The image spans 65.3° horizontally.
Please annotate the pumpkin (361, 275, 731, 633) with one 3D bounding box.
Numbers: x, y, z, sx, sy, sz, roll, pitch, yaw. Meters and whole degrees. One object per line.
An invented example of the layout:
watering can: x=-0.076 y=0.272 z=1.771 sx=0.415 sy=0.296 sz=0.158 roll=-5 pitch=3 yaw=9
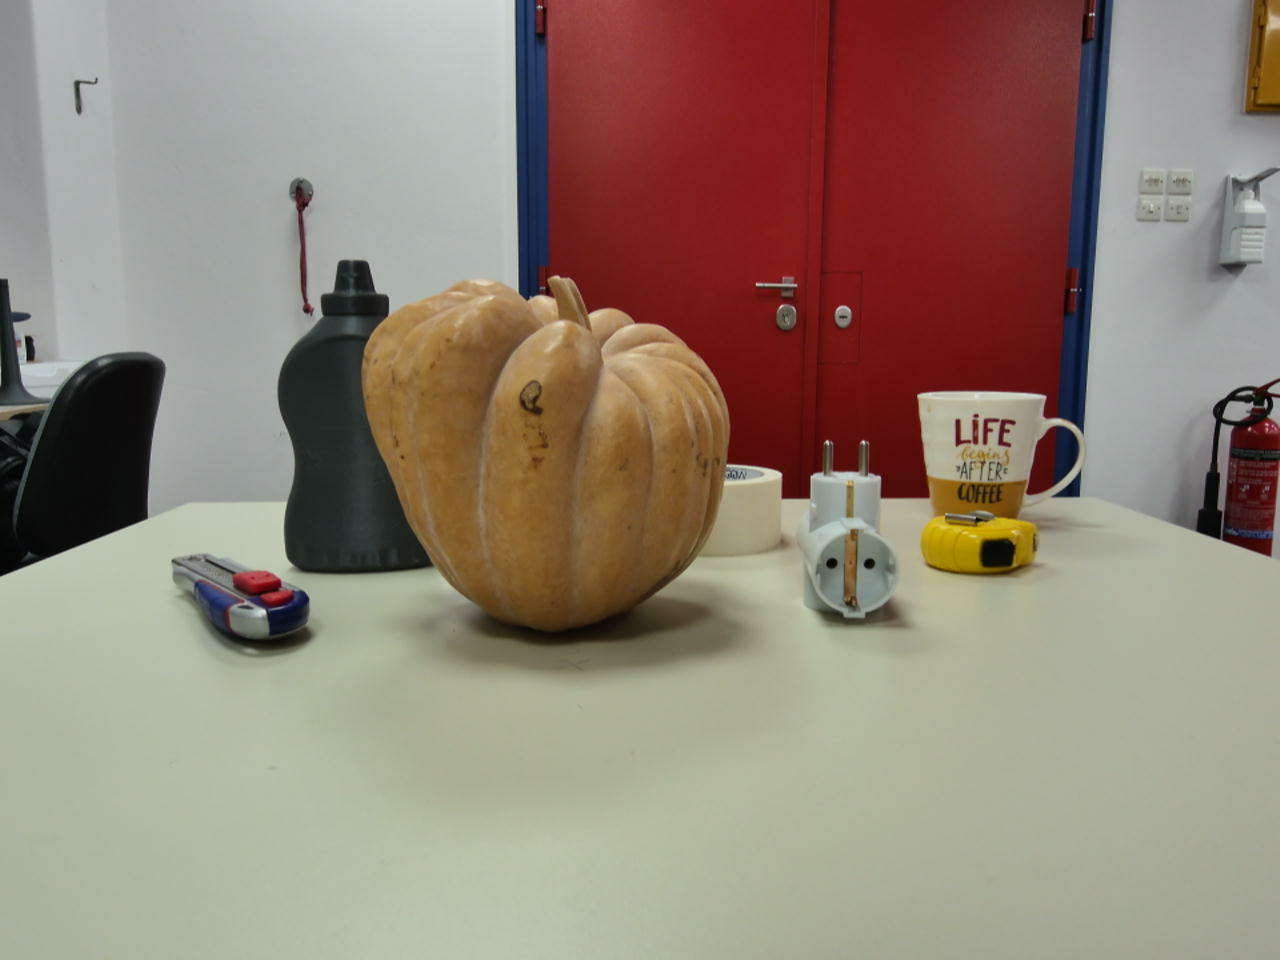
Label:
pumpkin: x=-0.047 y=-0.016 z=0.519 sx=0.199 sy=0.177 sz=0.198 roll=-1 pitch=7 yaw=0
